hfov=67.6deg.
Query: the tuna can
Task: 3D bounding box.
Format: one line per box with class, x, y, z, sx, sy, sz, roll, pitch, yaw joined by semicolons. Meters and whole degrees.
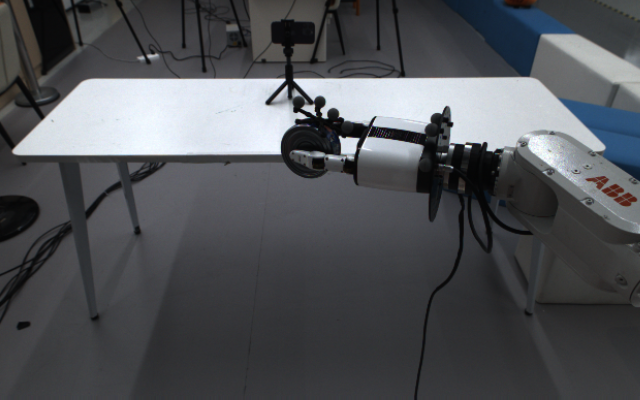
tuna can;-0.014;-0.077;0.718;0.085;0.085;0.034;15;31;18
